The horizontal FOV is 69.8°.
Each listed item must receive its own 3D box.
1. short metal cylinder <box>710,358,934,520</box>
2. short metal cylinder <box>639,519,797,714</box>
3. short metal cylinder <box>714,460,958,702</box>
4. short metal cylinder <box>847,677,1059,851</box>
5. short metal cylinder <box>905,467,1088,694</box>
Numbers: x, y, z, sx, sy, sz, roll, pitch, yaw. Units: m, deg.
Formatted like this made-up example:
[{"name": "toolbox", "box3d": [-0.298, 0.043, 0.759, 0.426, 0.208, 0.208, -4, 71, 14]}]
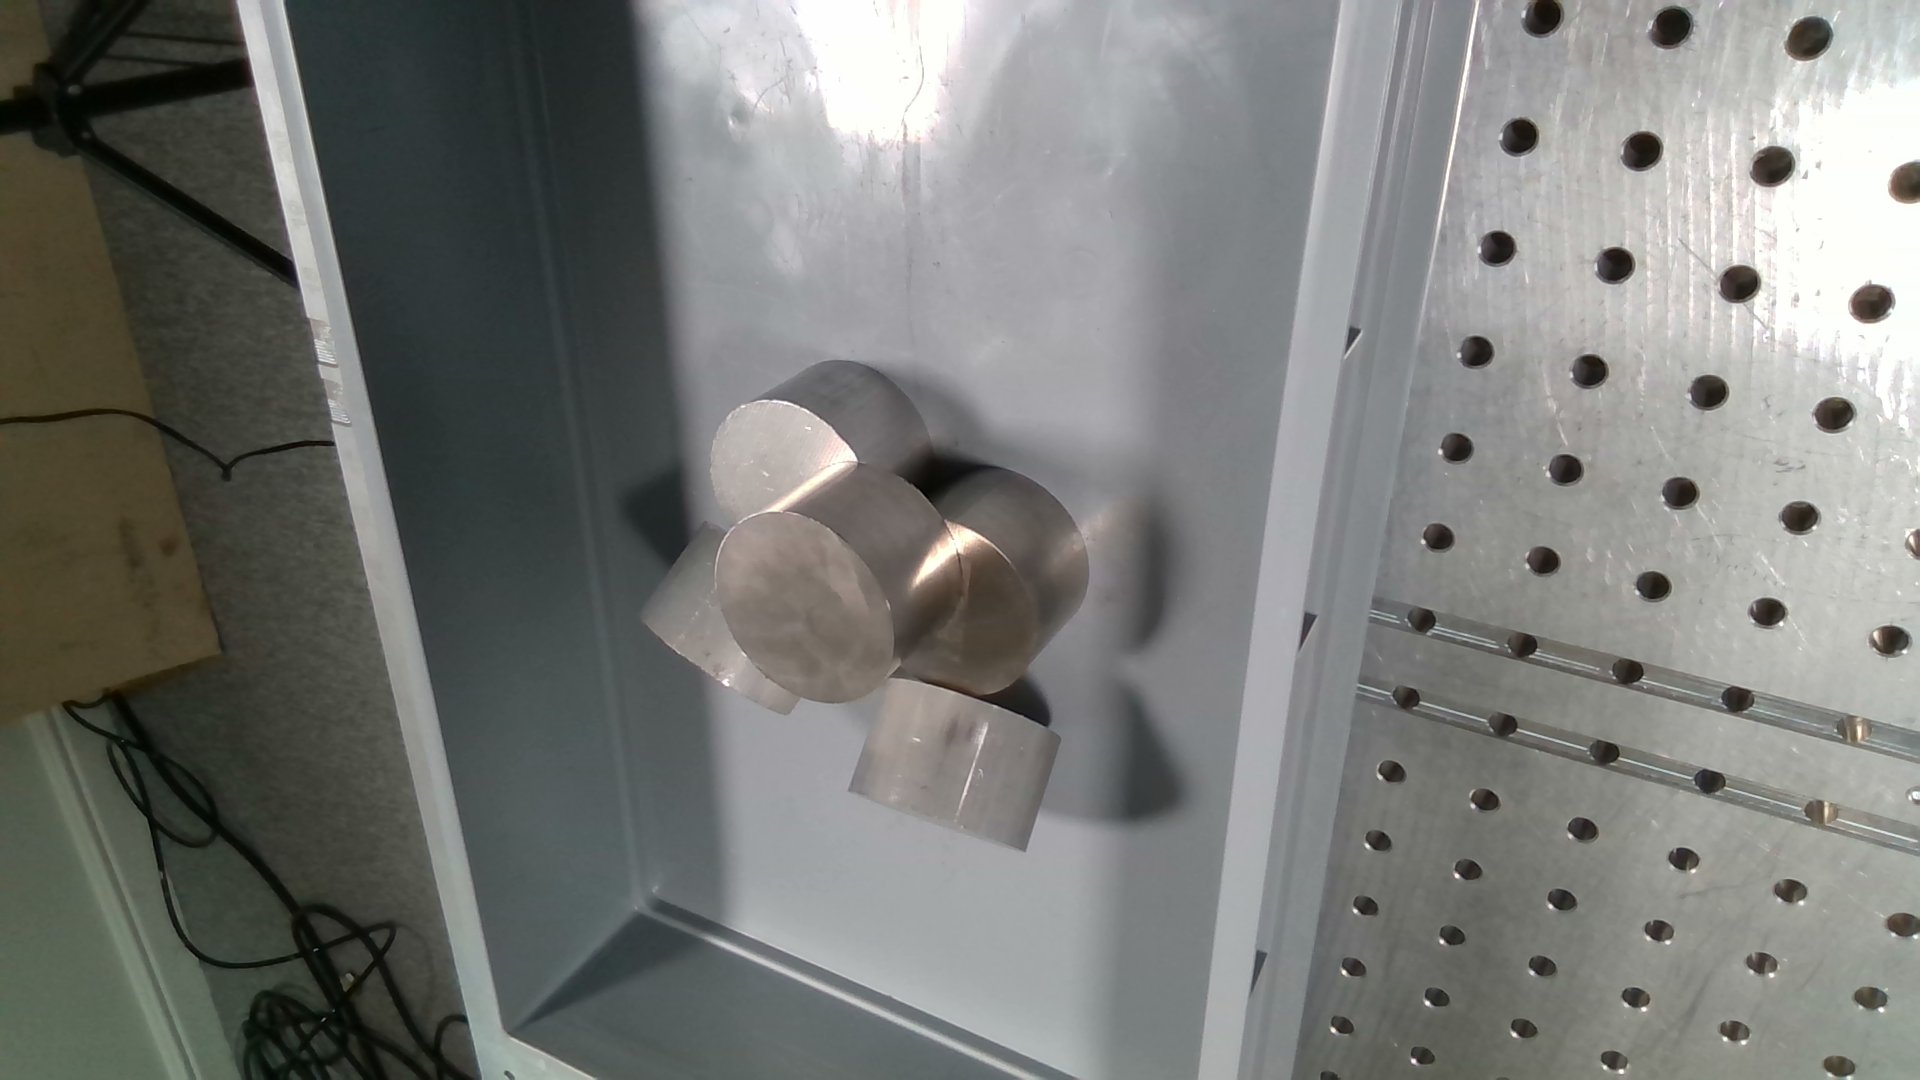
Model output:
[{"name": "short metal cylinder", "box3d": [-0.058, -0.031, 0.582, 0.080, 0.050, 0.080, 14, 122, 25]}, {"name": "short metal cylinder", "box3d": [-0.094, 0.034, 0.610, 0.080, 0.080, 0.050, 35, 87, 11]}, {"name": "short metal cylinder", "box3d": [-0.048, 0.015, 0.534, 0.080, 0.050, 0.080, 14, 122, 25]}, {"name": "short metal cylinder", "box3d": [-0.002, 0.096, 0.590, 0.080, 0.050, 0.080, 18, 166, 5]}, {"name": "short metal cylinder", "box3d": [0.006, 0.016, 0.567, 0.080, 0.050, 0.080, 14, 122, 25]}]
